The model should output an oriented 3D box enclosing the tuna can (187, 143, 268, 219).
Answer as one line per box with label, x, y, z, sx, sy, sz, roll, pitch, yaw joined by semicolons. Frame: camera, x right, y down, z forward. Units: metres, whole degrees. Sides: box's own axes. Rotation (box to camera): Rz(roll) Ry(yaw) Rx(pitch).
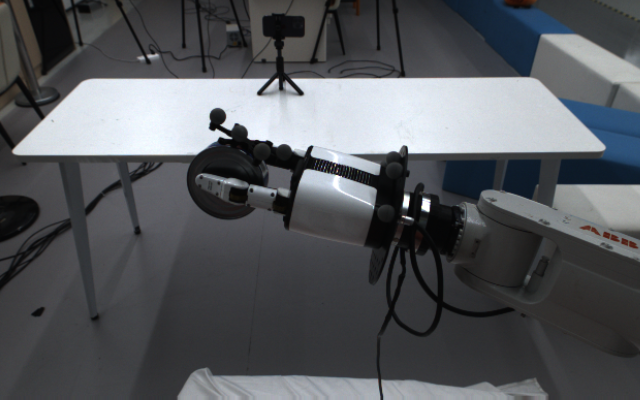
tuna can;-0.100;-0.023;0.542;0.085;0.085;0.034;4;20;3
